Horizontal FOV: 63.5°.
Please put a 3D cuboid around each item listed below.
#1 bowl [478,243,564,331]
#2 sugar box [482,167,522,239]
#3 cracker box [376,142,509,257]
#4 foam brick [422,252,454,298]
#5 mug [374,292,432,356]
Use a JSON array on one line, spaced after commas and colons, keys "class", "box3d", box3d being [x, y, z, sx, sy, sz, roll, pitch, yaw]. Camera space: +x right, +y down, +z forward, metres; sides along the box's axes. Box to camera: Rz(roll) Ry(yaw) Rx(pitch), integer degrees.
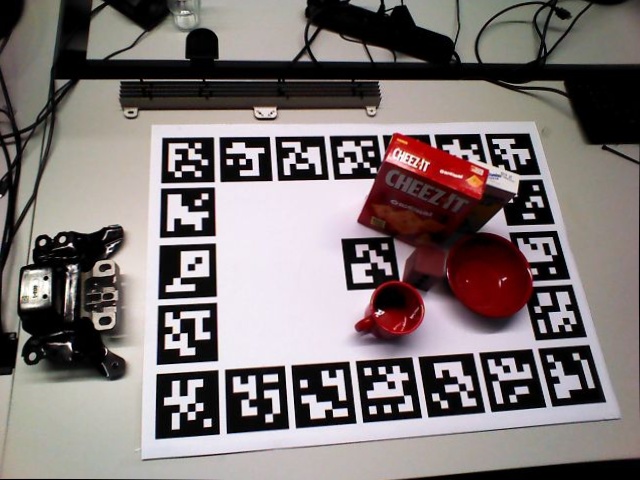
[{"class": "bowl", "box3d": [0.344, 0.088, 0.922, 0.162, 0.055, 0.161, 2, 68, -6]}, {"class": "sugar box", "box3d": [0.311, -0.065, 0.927, 0.093, 0.177, 0.045, 18, 66, 1]}, {"class": "cracker box", "box3d": [0.205, -0.057, 0.892, 0.164, 0.214, 0.071, 26, 64, 3]}, {"class": "foam brick", "box3d": [0.220, 0.063, 0.922, 0.053, 0.078, 0.051, 13, 66, -1]}, {"class": "mug", "box3d": [0.147, 0.147, 0.867, 0.117, 0.082, 0.093, -10, 61, -9]}]
